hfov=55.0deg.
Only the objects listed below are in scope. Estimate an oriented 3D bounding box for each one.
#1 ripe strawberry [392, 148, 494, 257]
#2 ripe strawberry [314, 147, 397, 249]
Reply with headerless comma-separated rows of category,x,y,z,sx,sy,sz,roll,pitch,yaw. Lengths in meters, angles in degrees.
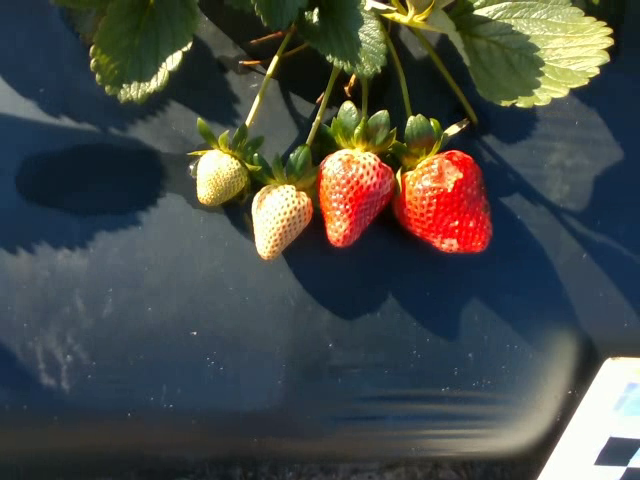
ripe strawberry,0.070,-0.016,0.311,0.056,0.067,0.051,-38,-22,14
ripe strawberry,0.016,-0.022,0.304,0.050,0.061,0.043,26,-20,-27
